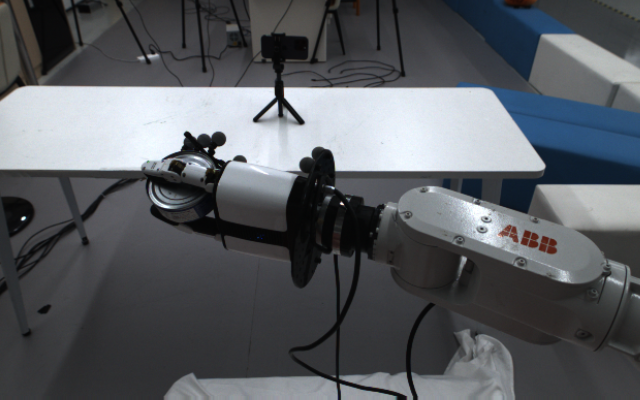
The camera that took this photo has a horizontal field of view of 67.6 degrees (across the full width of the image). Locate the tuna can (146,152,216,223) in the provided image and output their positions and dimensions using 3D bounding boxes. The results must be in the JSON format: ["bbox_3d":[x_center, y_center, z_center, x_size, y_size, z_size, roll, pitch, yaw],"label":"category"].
[{"bbox_3d":[-0.161,-0.017,0.584,0.085,0.034,0.085,-4,56,6],"label":"tuna can"}]
